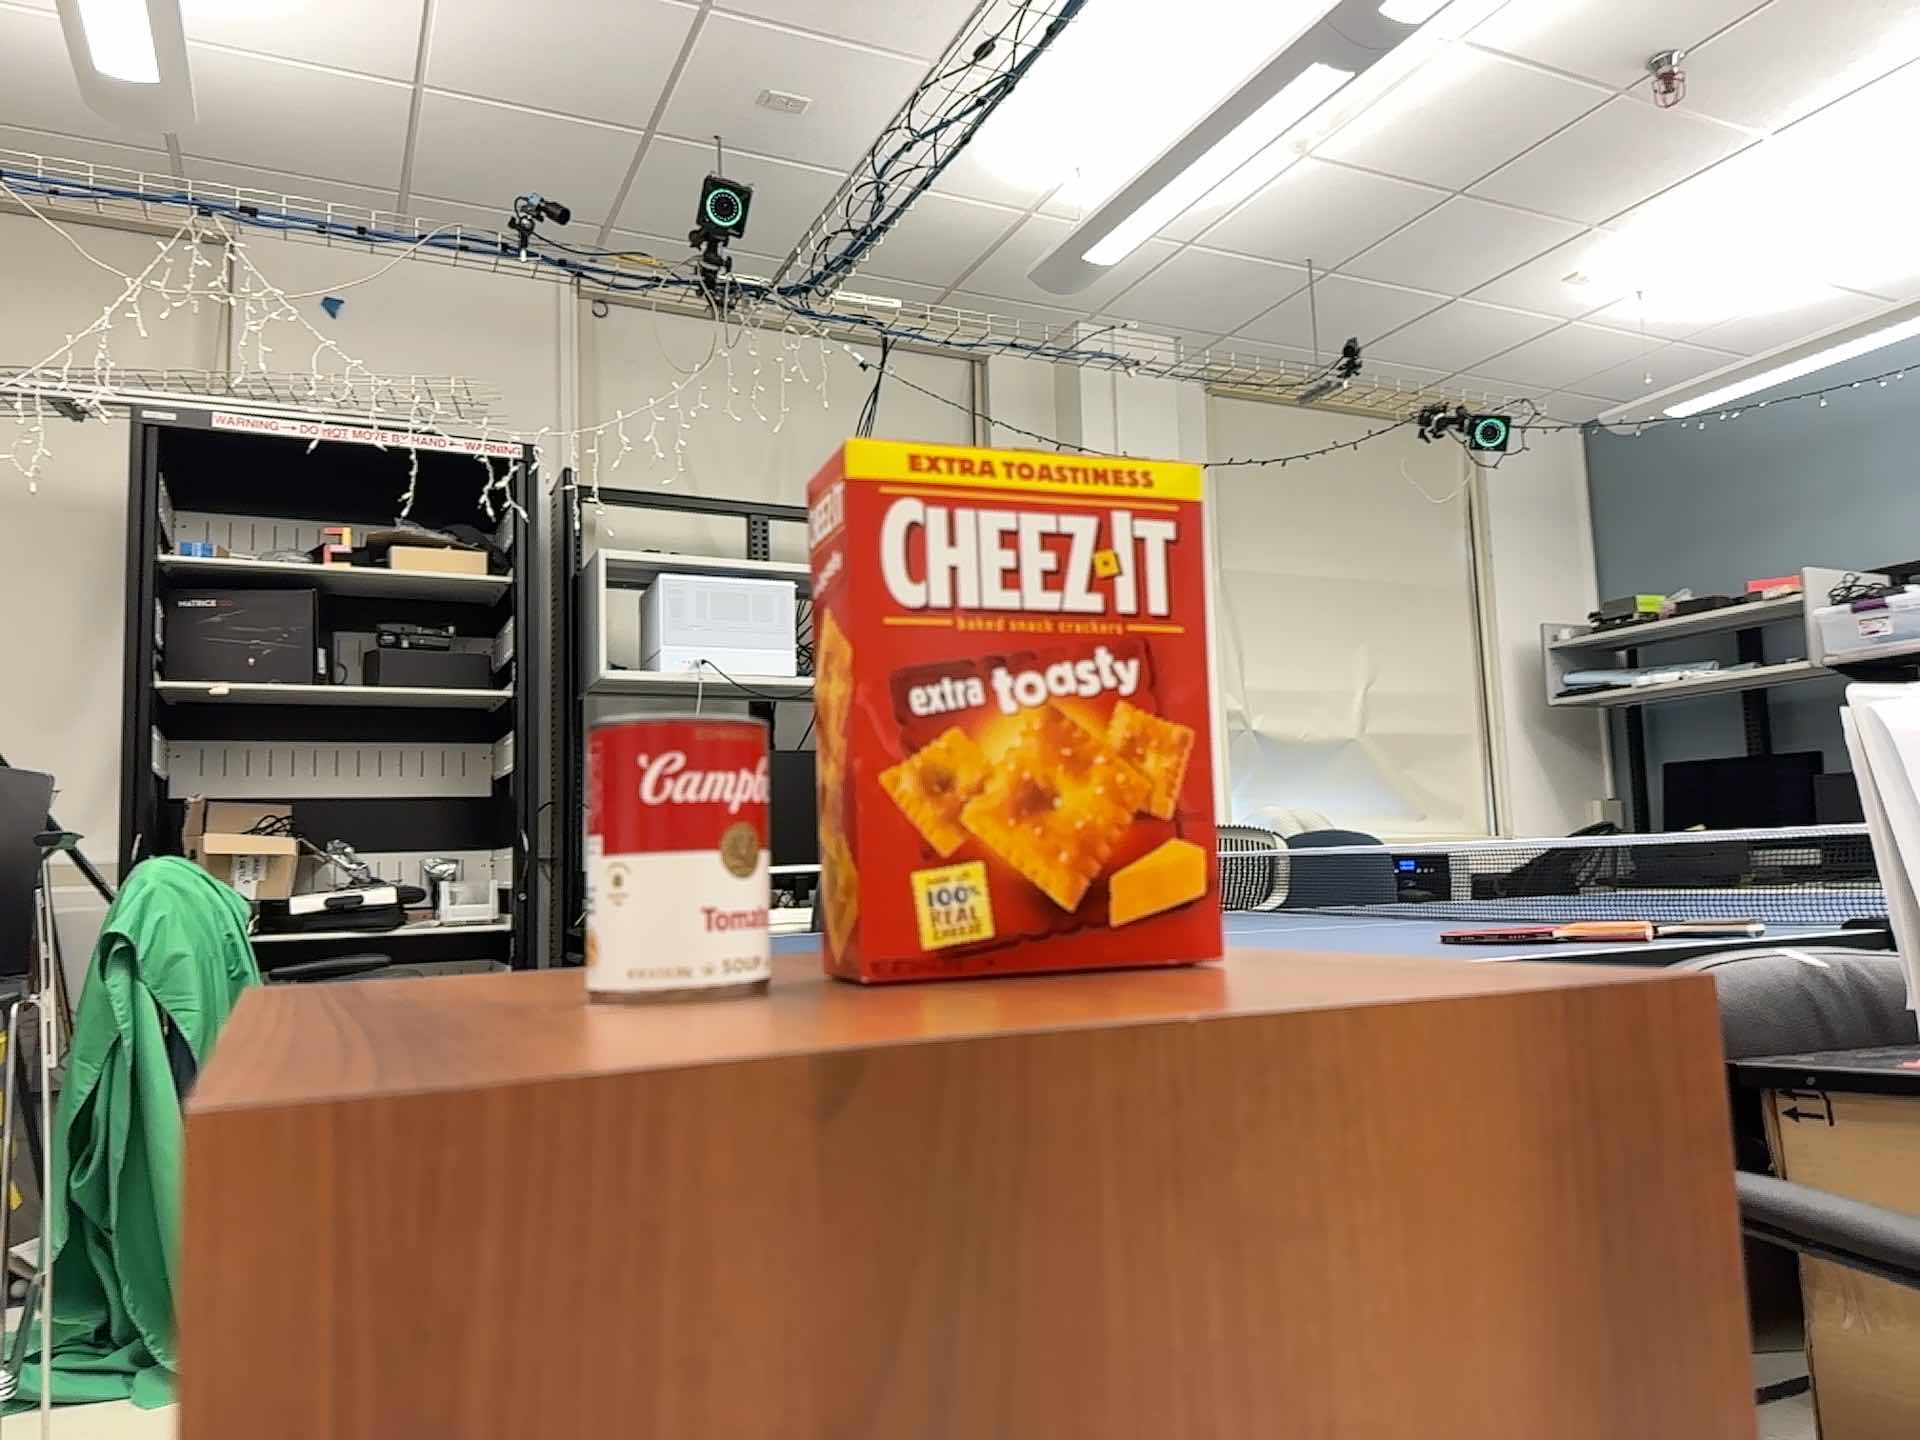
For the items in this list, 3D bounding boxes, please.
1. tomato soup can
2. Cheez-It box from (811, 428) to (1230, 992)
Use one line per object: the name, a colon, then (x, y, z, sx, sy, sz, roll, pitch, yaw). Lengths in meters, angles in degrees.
tomato soup can: (-0.103, 0.051, 0.498, 0.067, 0.102, 0.067, -1, -9, 0)
Cheez-It box: (0.025, -0.001, 0.568, 0.159, 0.214, 0.062, 2, -8, -21)
